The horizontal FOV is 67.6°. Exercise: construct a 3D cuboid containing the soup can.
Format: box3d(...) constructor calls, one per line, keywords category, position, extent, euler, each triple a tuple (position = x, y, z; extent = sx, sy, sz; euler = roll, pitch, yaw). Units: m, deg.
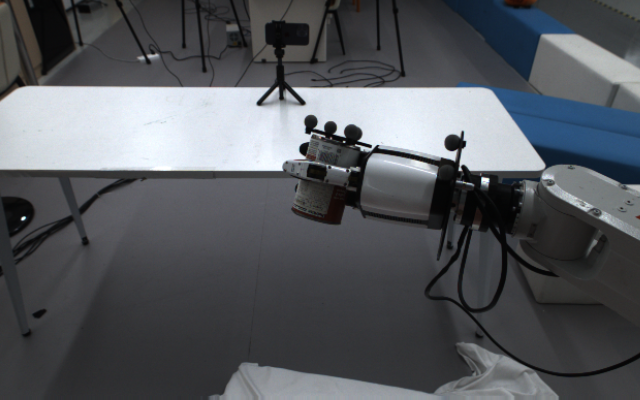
box3d(category="soup can", position=(0.009, -0.026, 0.622), extent=(0.067, 0.101, 0.067), euler=(15, 7, -2))
